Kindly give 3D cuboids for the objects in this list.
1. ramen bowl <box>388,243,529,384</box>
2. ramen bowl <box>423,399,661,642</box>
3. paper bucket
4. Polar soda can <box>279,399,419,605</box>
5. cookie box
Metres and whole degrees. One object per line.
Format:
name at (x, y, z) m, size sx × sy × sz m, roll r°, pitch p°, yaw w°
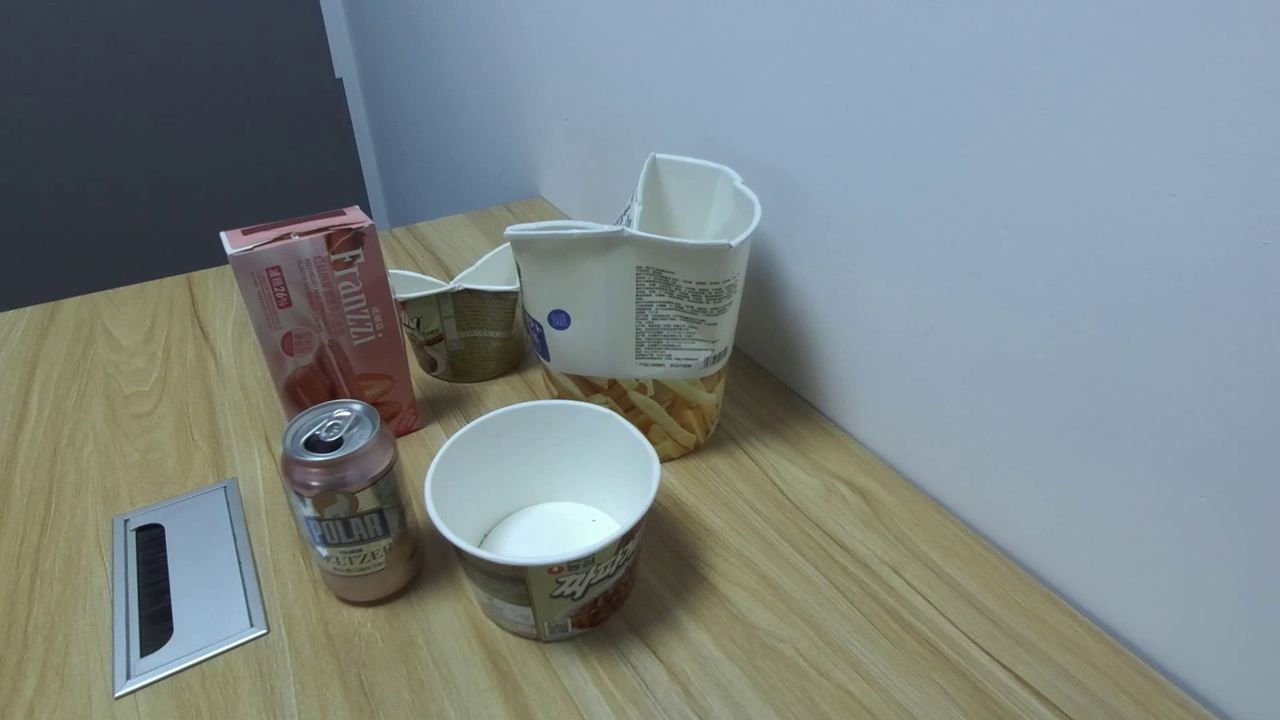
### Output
ramen bowl at (-0.170, -0.047, 0.672) m, size 0.128 × 0.093 × 0.111 m, roll -6°, pitch 36°, yaw -7°
ramen bowl at (-0.058, 0.106, 0.455) m, size 0.140 × 0.095 × 0.140 m, roll 0°, pitch 34°, yaw 0°
paper bucket at (0.002, -0.044, 0.570) m, size 0.169 × 0.202 × 0.162 m, roll 7°, pitch 35°, yaw 6°
Polar soda can at (-0.179, 0.090, 0.445) m, size 0.067 × 0.126 × 0.067 m, roll 0°, pitch 35°, yaw 0°
cookie box at (-0.234, -0.018, 0.541) m, size 0.105 × 0.188 × 0.048 m, roll -22°, pitch 40°, yaw -30°
